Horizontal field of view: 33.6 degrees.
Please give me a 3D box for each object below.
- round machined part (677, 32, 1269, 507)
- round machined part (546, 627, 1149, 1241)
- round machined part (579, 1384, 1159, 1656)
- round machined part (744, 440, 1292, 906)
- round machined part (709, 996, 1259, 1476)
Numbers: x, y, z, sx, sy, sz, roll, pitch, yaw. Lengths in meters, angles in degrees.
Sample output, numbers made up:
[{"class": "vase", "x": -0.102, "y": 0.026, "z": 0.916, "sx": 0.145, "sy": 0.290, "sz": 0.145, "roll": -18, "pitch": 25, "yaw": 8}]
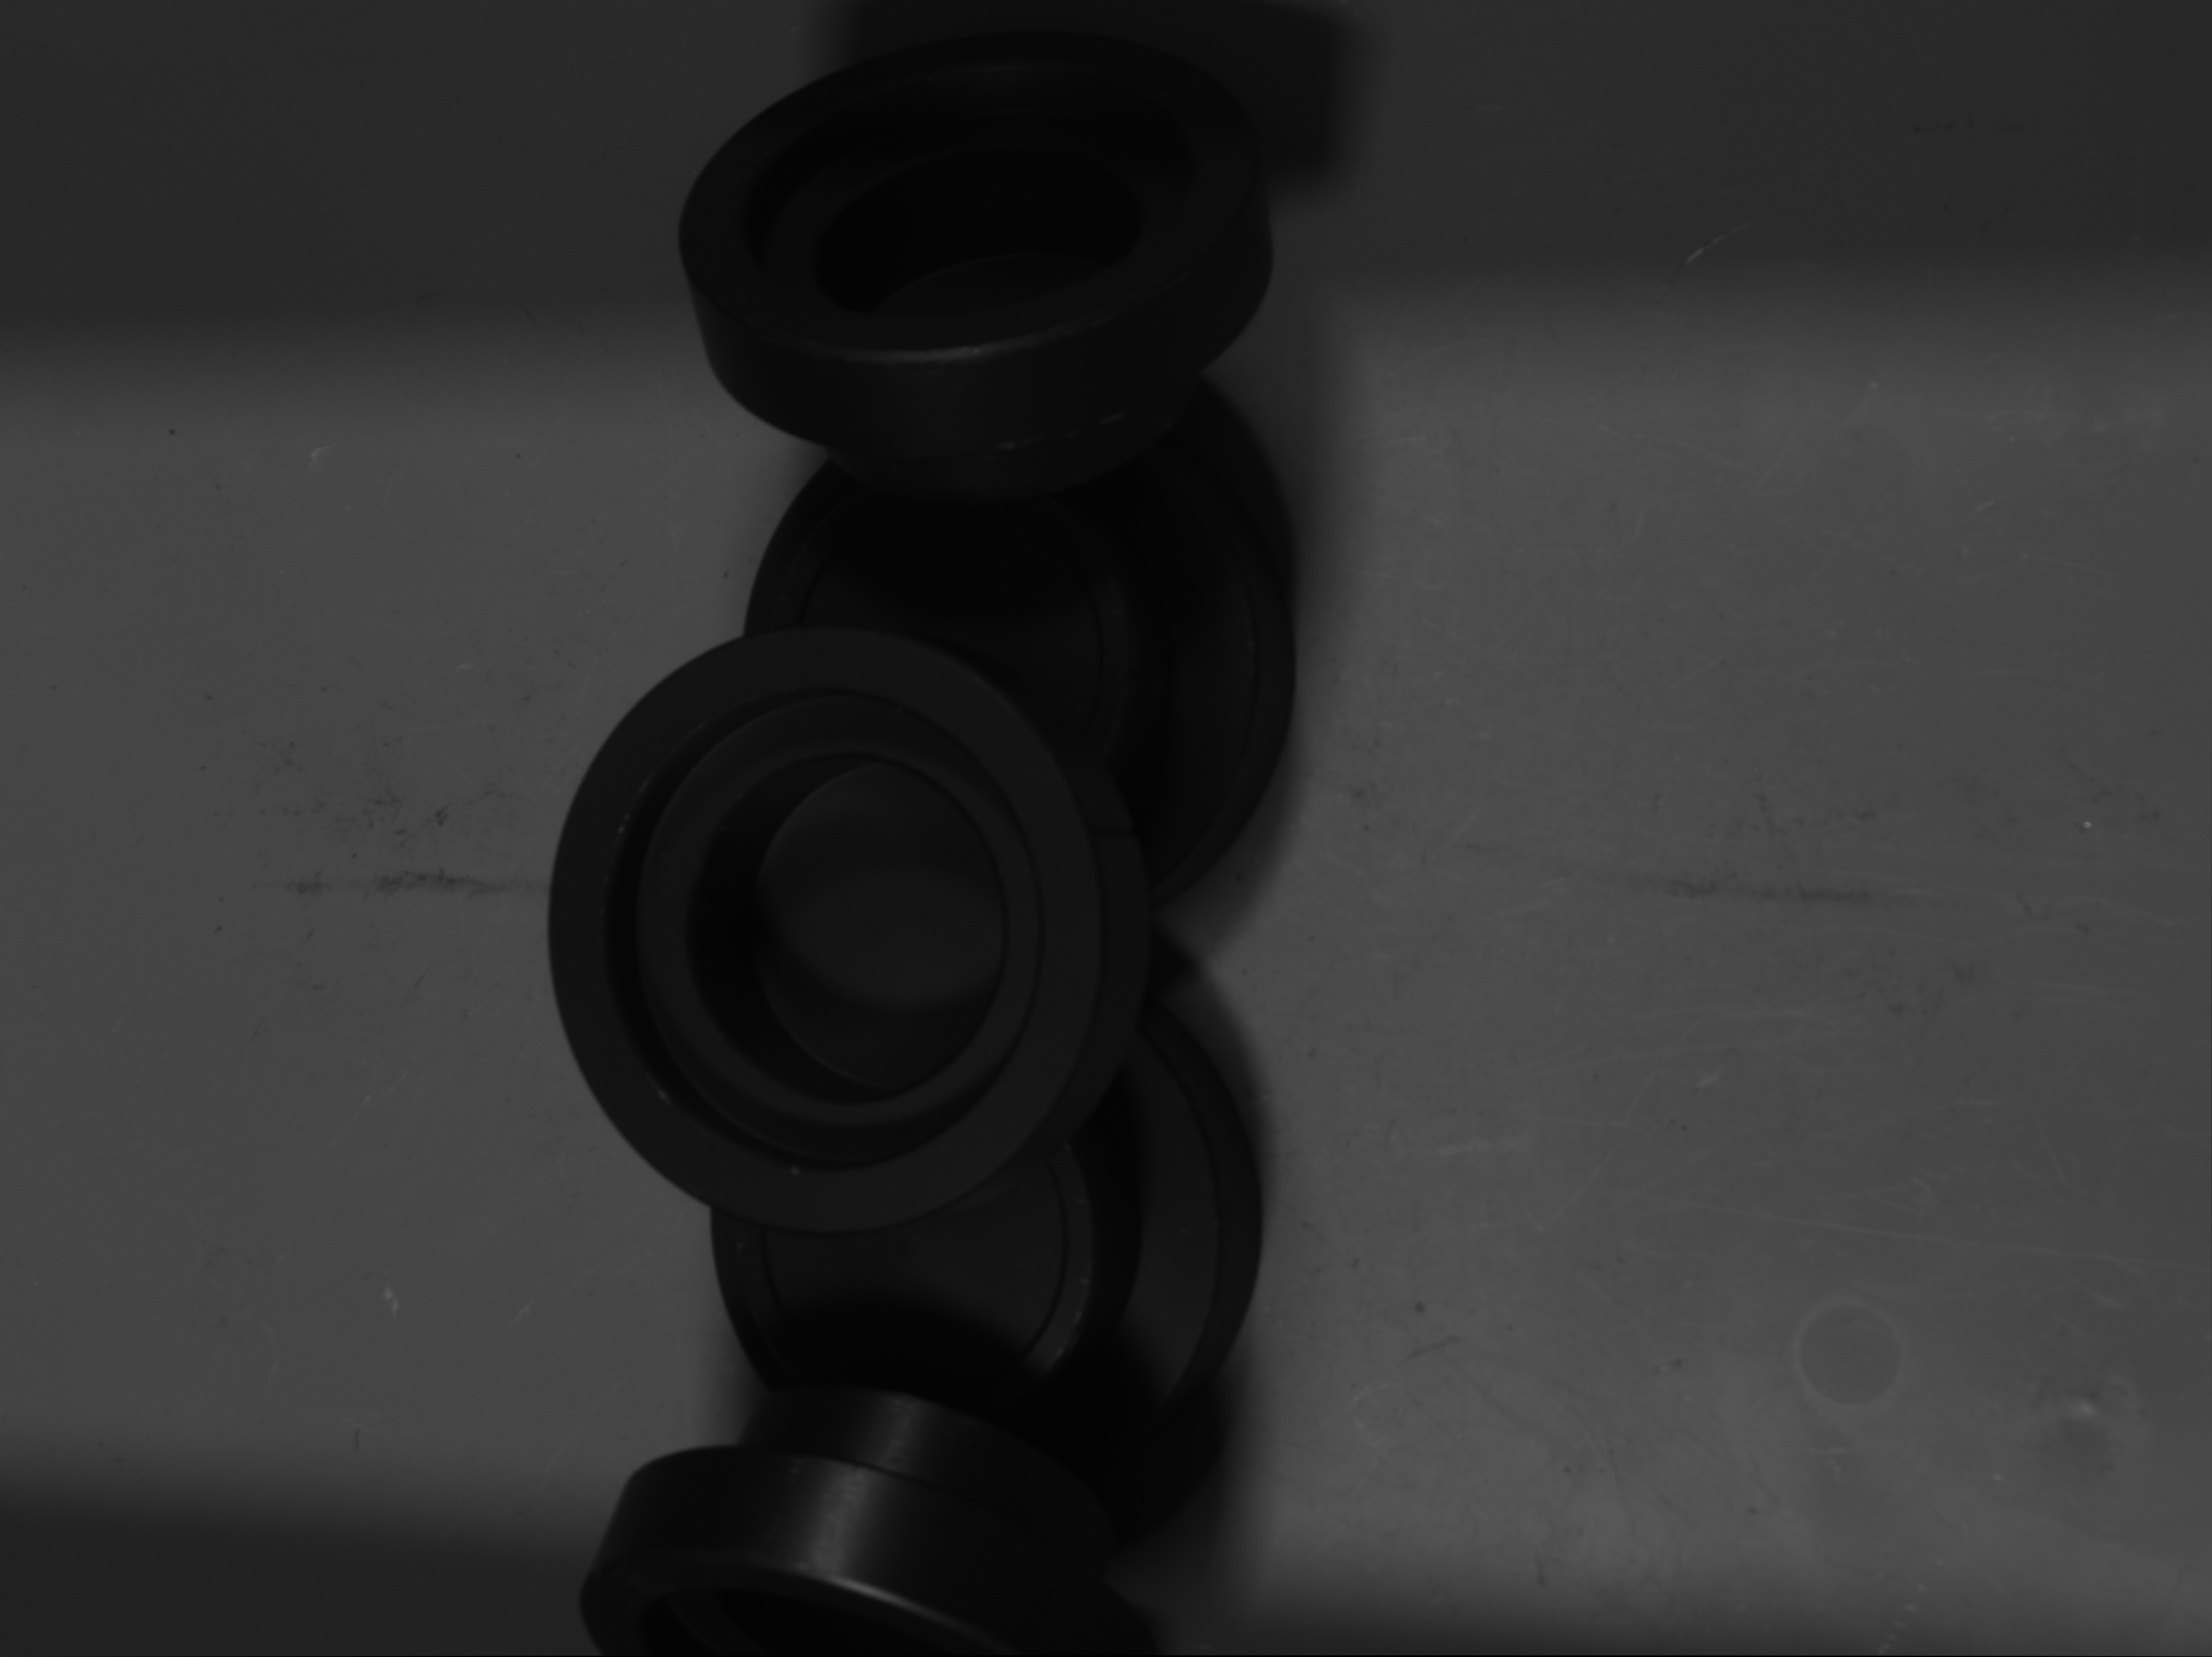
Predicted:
[{"class": "round machined part", "x": -0.020, "y": -0.092, "z": 0.622, "sx": 0.098, "sy": 0.098, "sz": 0.042, "roll": 8, "pitch": 135, "yaw": 20}, {"class": "round machined part", "x": -0.039, "y": 0.017, "z": 0.602, "sx": 0.098, "sy": 0.042, "sz": 0.098, "roll": 0, "pitch": 90, "yaw": 20}, {"class": "round machined part", "x": -0.037, "y": 0.131, "z": 0.628, "sx": 0.098, "sy": 0.098, "sz": 0.042, "roll": 7, "pitch": 54, "yaw": 20}, {"class": "round machined part", "x": -0.020, "y": -0.028, "z": 0.641, "sx": 0.098, "sy": 0.042, "sz": 0.098, "roll": 0, "pitch": 90, "yaw": 20}, {"class": "round machined part", "x": -0.026, "y": 0.070, "z": 0.643, "sx": 0.098, "sy": 0.042, "sz": 0.098, "roll": 0, "pitch": 90, "yaw": 20}]
